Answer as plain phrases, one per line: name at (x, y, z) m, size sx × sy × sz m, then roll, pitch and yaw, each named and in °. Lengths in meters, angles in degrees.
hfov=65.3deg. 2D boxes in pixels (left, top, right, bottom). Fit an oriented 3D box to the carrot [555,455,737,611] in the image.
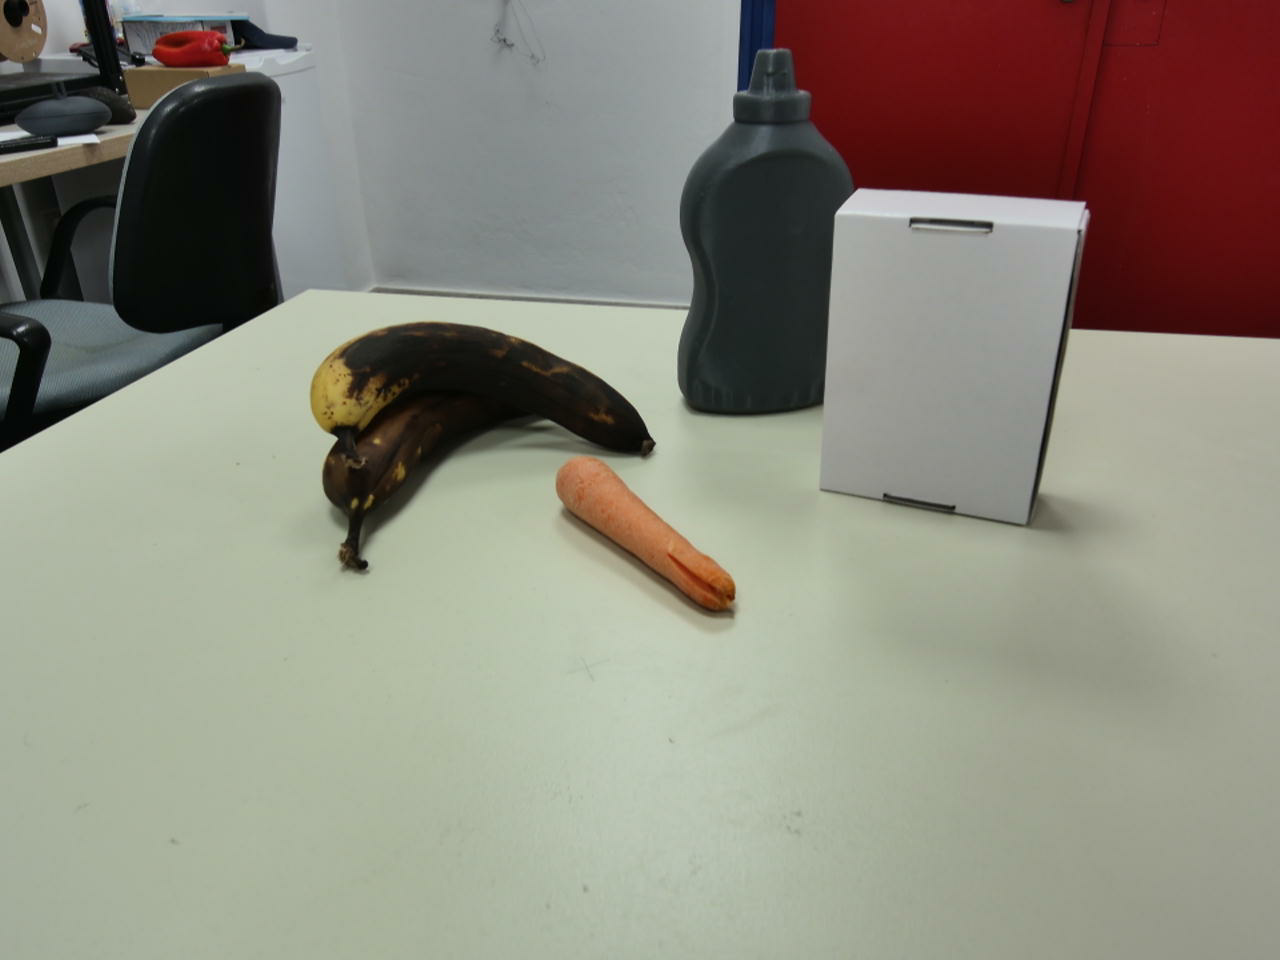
carrot at (-0.001, 0.021, 0.464) m, size 0.030 × 0.032 × 0.136 m, roll -14°, pitch 28°, yaw -29°
